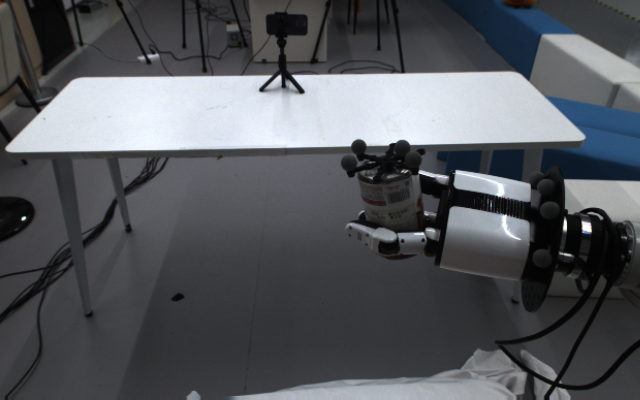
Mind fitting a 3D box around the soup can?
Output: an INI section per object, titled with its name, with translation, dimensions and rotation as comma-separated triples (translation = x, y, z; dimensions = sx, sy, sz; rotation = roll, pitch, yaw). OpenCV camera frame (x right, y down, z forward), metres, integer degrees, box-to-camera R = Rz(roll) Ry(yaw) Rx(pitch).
[soup can]
translation = 0.085, 0.007, 0.546
dimensions = 0.067, 0.101, 0.067
rotation = -11, 27, 6
